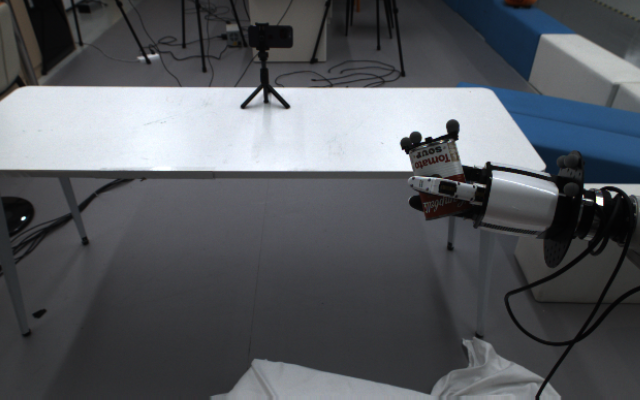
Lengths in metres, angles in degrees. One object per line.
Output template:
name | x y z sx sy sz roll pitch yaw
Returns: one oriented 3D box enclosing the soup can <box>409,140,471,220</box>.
soup can | 0.169 -0.029 0.682 0.067 0.101 0.067 -14 -2 -1
